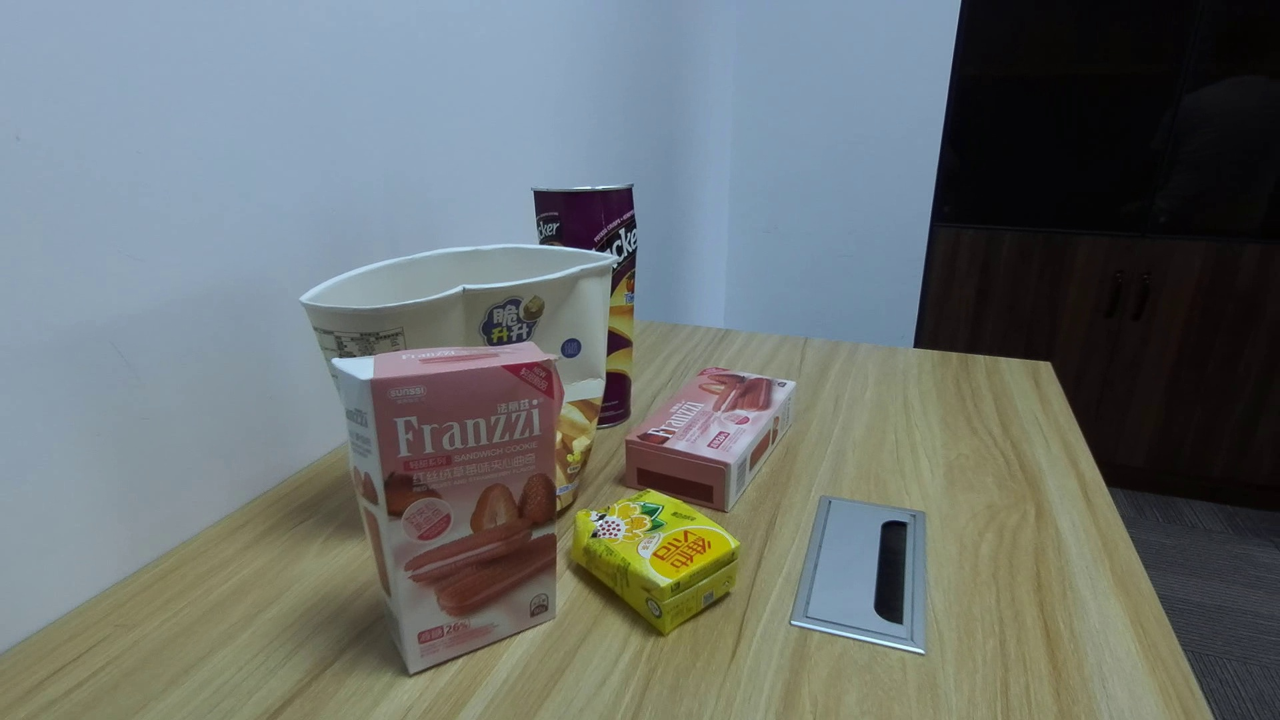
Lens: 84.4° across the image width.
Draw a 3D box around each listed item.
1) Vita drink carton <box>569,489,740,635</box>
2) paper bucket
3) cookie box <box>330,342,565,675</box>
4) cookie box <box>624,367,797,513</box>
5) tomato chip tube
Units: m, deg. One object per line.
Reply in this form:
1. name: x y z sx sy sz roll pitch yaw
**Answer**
1. Vita drink carton: 0.009 0.131 0.482 0.087 0.042 0.107 -20 24 -28
2. paper bucket: -0.119 0.020 0.563 0.147 0.199 0.218 10 23 28
3. cookie box: -0.103 0.083 0.418 0.119 0.184 0.055 -10 24 -23
4. cookie box: 0.071 0.064 0.645 0.096 0.048 0.185 10 23 25
5. tomato chip tube: -0.049 -0.053 0.700 0.077 0.235 0.076 11 23 32
